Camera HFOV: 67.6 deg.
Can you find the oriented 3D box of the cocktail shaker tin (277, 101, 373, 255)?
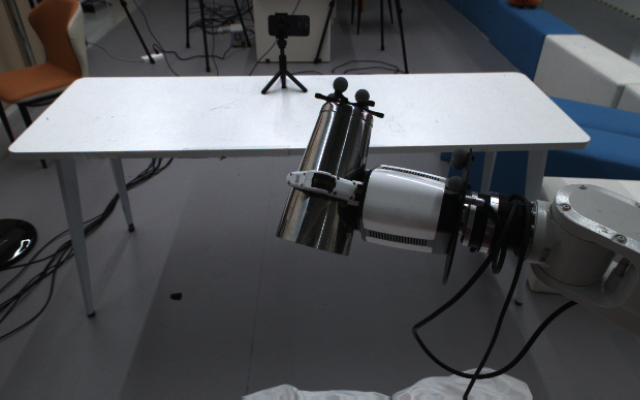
[{"bbox_3d":[0.013,-0.026,0.588,0.093,0.170,0.093,15,-4,1],"label":"cocktail shaker tin"}]
